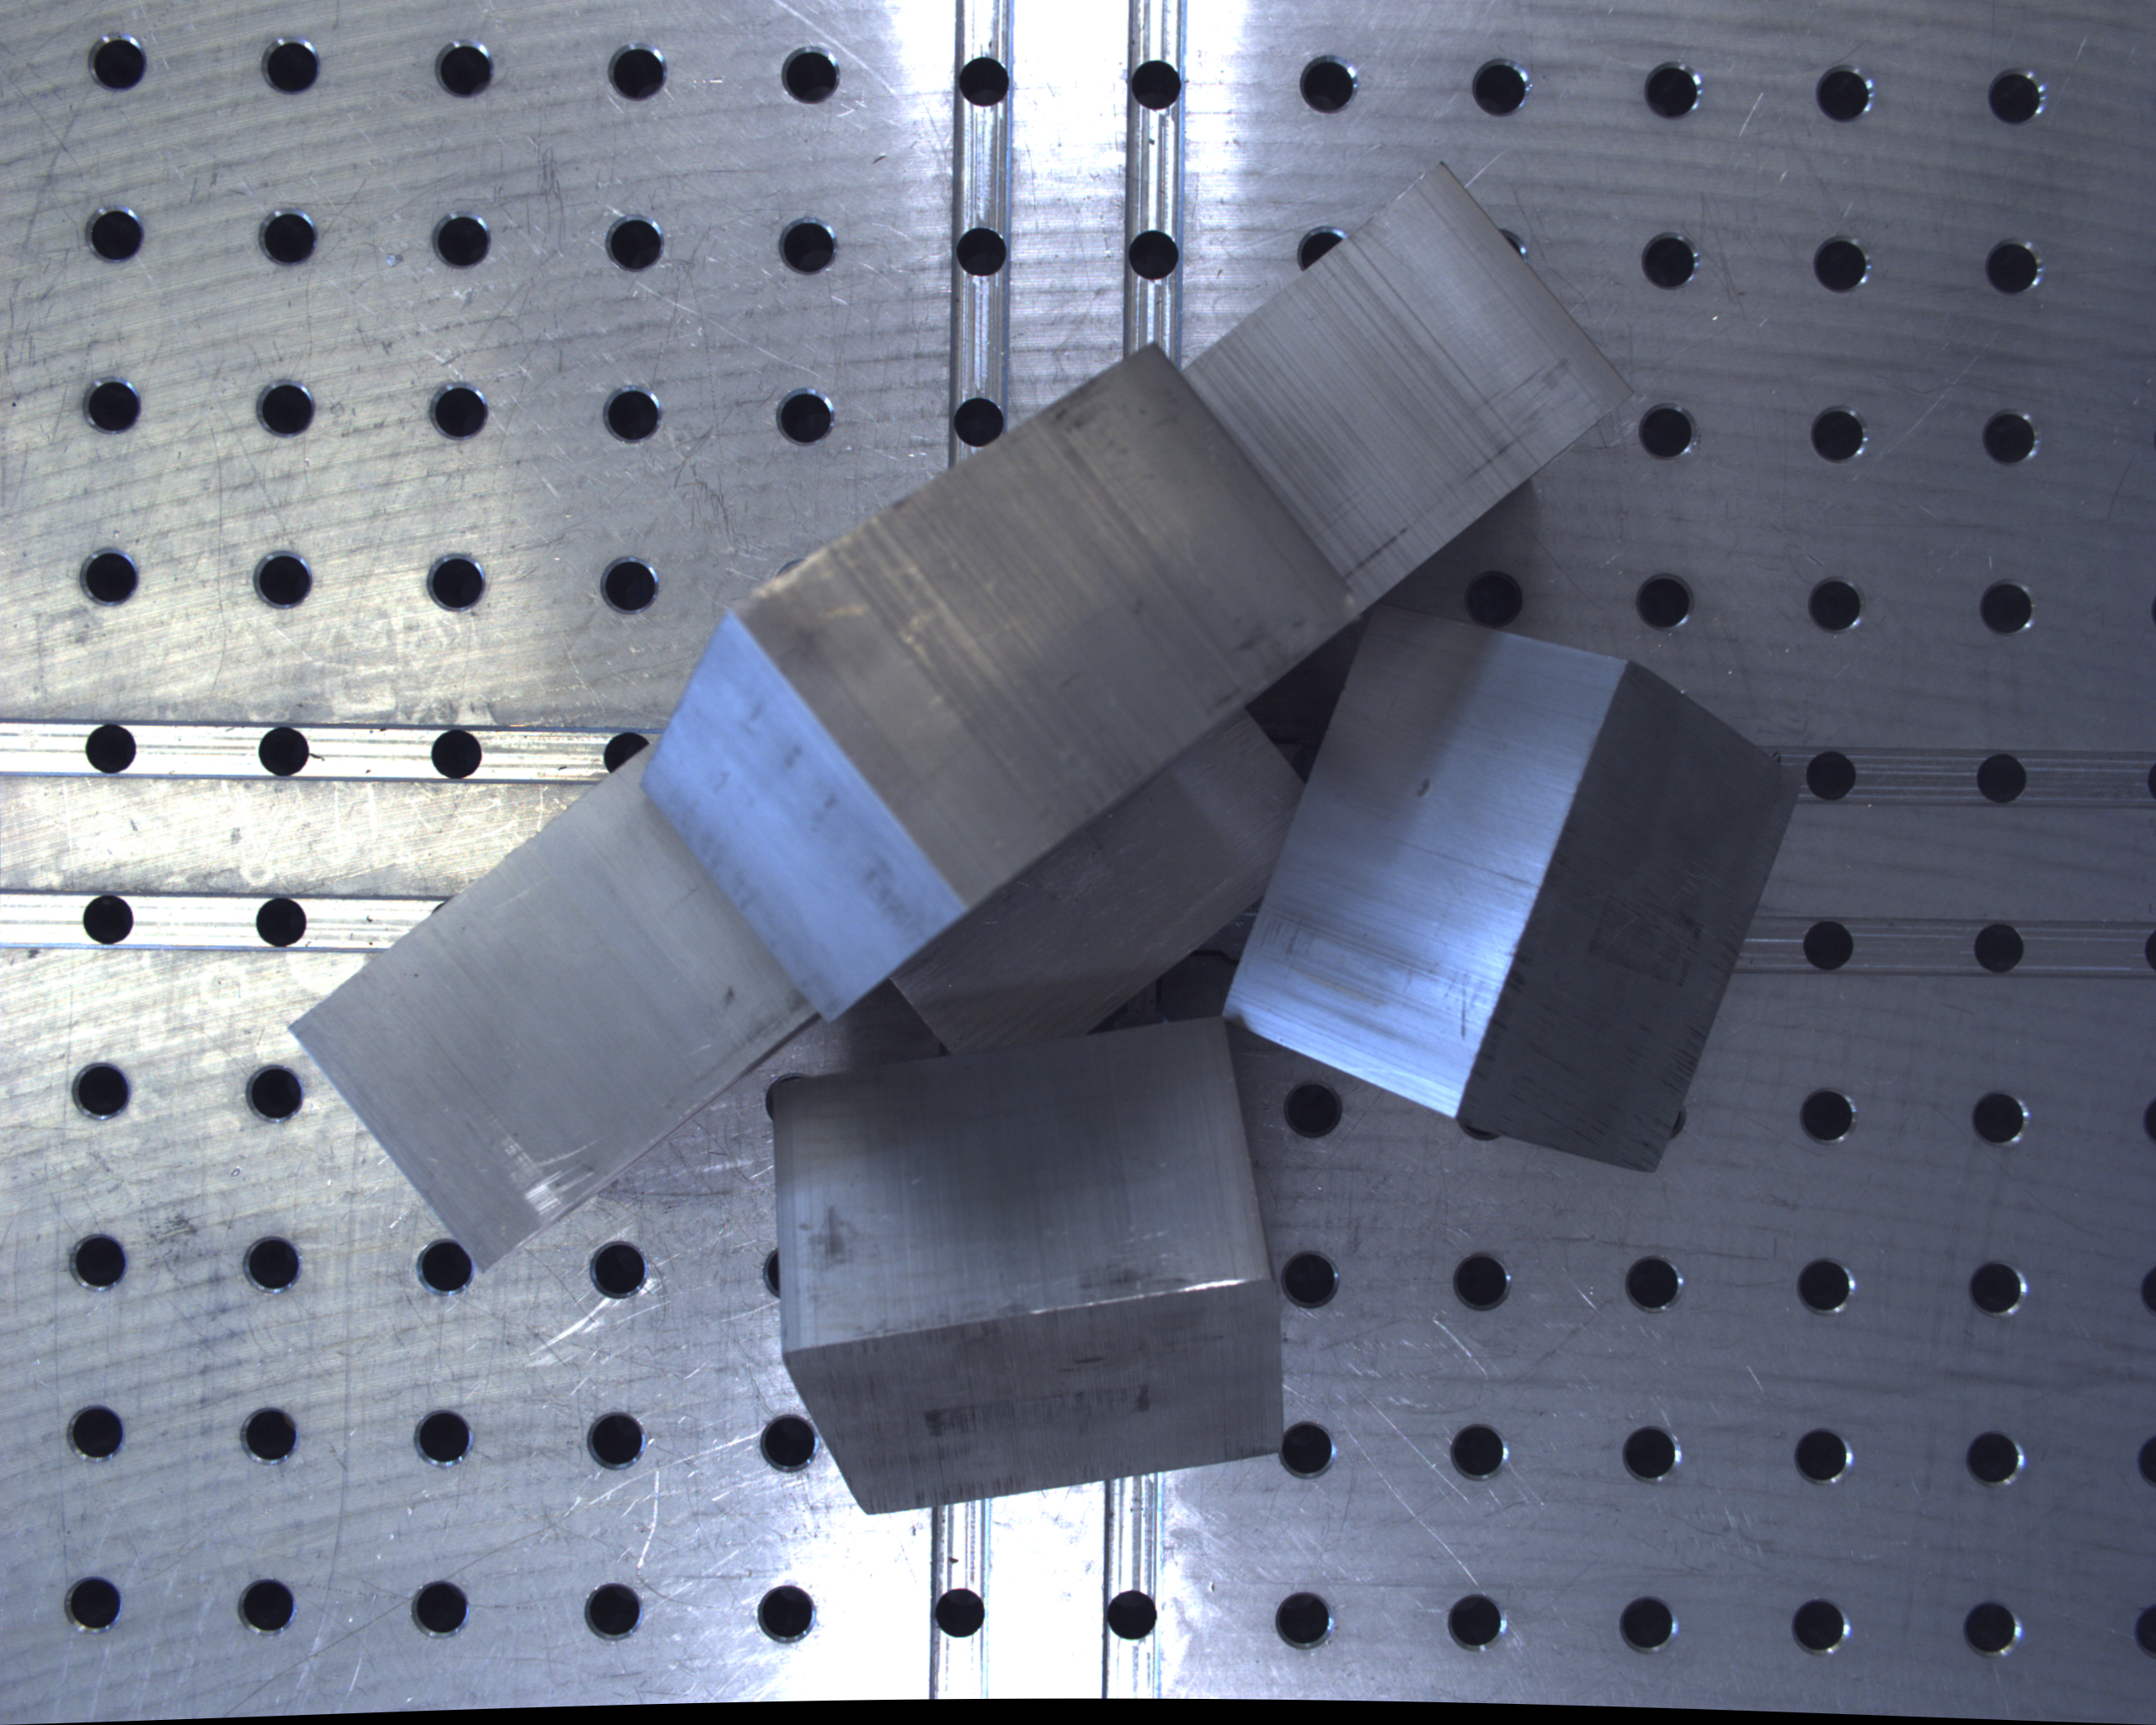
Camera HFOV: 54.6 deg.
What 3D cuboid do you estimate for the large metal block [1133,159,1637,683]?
[{"bbox_3d":[0.046,-0.073,0.386,0.080,0.080,0.050,-39,91,0],"label":"large metal block"}]

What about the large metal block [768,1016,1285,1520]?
[{"bbox_3d":[-0.007,0.076,0.379,0.080,0.080,0.050,-9,54,0],"label":"large metal block"}]

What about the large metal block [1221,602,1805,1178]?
[{"bbox_3d":[0.080,0.007,0.379,0.050,0.080,0.080,21,90,41],"label":"large metal block"}]

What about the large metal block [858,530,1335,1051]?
[{"bbox_3d":[-0.008,-0.011,0.402,0.080,0.050,0.080,-39,90,0],"label":"large metal block"}]

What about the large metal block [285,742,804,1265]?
[{"bbox_3d":[-0.083,0.022,0.384,0.080,0.080,0.050,-38,90,0],"label":"large metal block"}]

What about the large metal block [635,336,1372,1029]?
[{"bbox_3d":[-0.015,-0.025,0.323,0.080,0.080,0.050,-37,90,-25],"label":"large metal block"}]
